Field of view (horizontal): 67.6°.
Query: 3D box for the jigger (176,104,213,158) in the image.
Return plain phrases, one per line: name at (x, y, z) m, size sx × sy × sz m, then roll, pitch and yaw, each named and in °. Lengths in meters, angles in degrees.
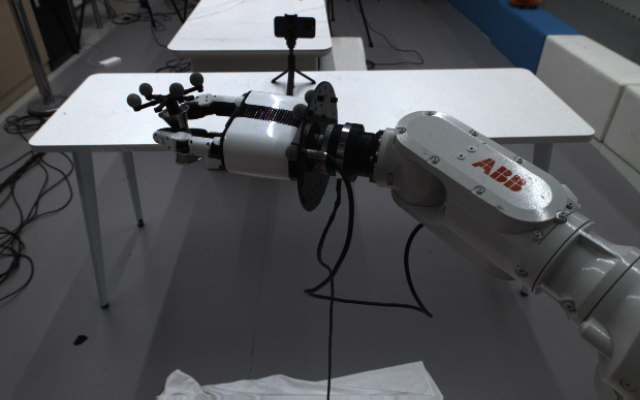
jigger at (-0.182, -0.087, 0.638) m, size 0.043 × 0.071 × 0.043 m, roll -10°, pitch 33°, yaw 6°
